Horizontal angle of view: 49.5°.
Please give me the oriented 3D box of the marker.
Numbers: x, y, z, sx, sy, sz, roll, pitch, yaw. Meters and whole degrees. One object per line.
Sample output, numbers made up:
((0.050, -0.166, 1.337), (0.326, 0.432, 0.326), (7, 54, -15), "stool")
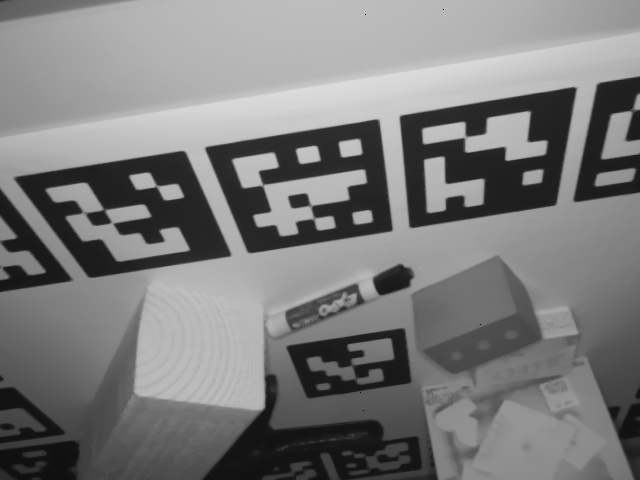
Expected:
((0.039, 0.039, 0.533), (0.120, 0.020, 0.020), (-24, 131, 15), "marker")

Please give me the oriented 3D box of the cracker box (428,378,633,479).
((0.192, 0.239, 0.607), (0.164, 0.215, 0.071), (-10, 136, 6), "cracker box")

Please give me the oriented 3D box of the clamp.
((-0.051, 0.212, 0.681), (0.200, 0.037, 0.166), (-33, 129, 23), "clamp")

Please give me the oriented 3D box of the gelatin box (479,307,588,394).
((0.184, 0.098, 0.607), (0.089, 0.030, 0.073), (-10, 133, 2), "gelatin box")

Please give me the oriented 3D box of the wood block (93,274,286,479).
((-0.110, 0.131, 0.561), (0.091, 0.091, 0.203), (15, 133, -24), "wood block")

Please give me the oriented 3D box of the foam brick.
((0.133, 0.057, 0.541), (0.077, 0.052, 0.053), (-27, 130, 19), "foam brick")
